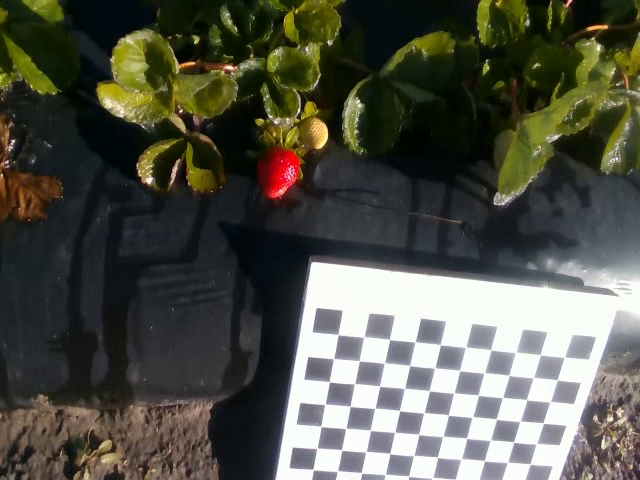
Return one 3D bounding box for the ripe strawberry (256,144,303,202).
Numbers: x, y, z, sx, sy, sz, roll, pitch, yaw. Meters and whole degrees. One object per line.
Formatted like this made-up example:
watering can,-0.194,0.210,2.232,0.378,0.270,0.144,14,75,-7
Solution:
ripe strawberry,-0.027,-0.040,0.416,0.039,0.040,0.039,1,44,5
